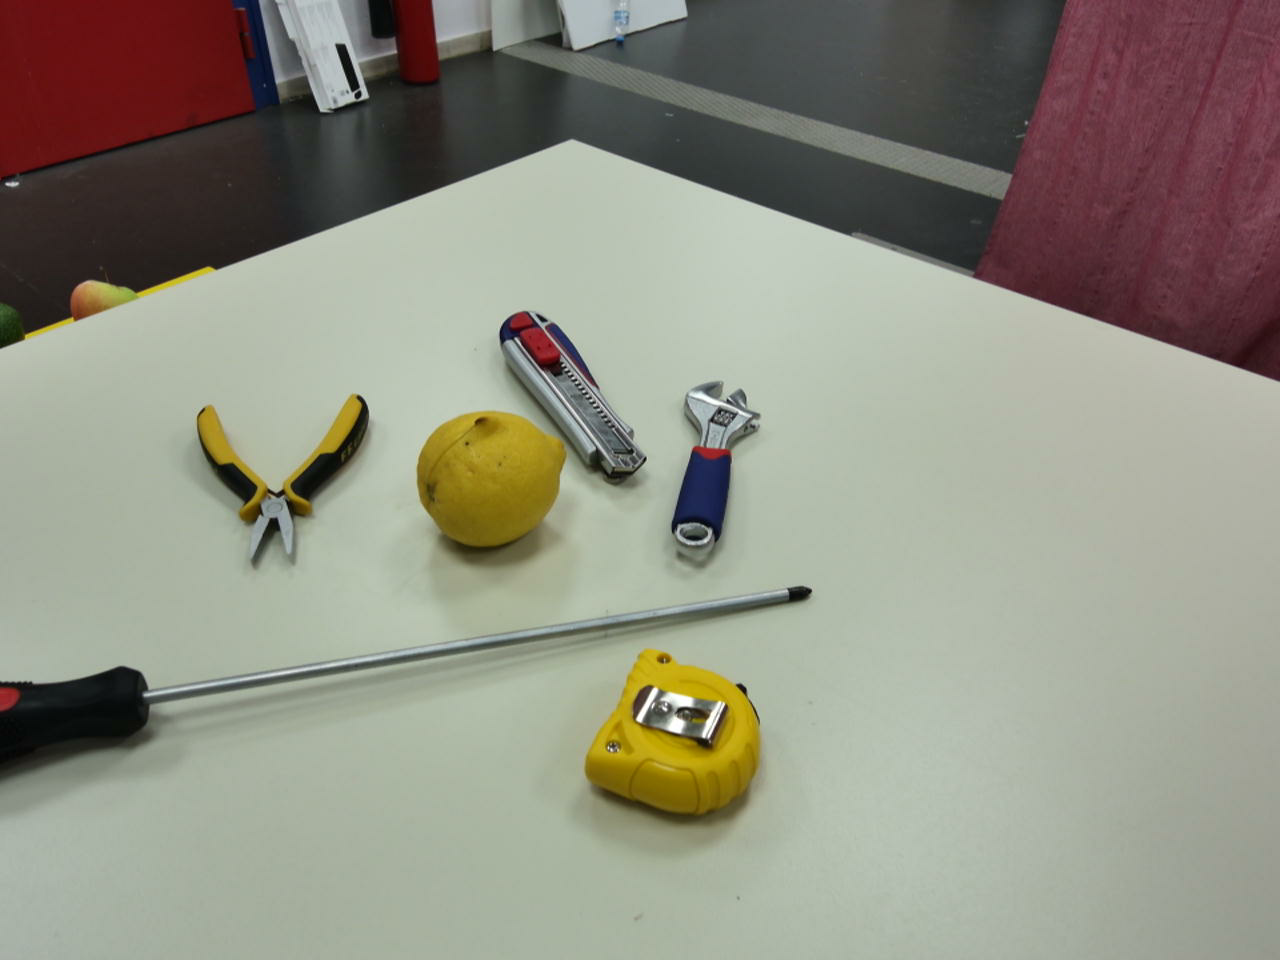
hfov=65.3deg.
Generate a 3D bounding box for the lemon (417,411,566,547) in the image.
[{"bbox_3d":[-0.077,-0.004,0.502,0.071,0.071,0.070,4,37,5],"label":"lemon"}]
